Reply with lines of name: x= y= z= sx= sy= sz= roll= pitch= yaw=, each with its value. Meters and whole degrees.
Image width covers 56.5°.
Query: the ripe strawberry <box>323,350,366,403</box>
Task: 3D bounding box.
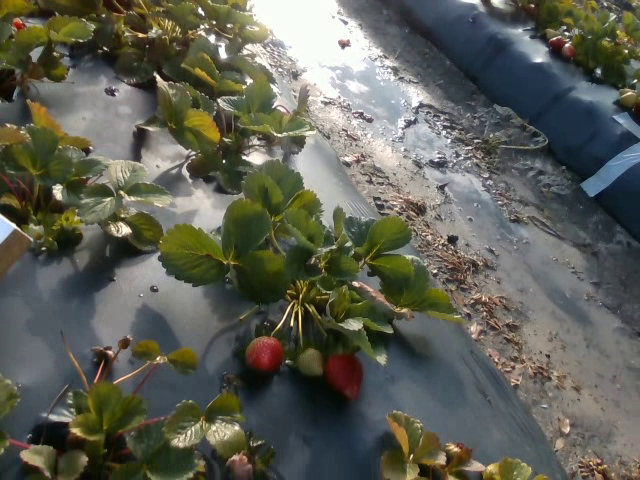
ripe strawberry: x=0.028 y=0.155 z=0.666 sx=0.048 sy=0.065 sz=0.050 roll=-20 pitch=-41 yaw=9
